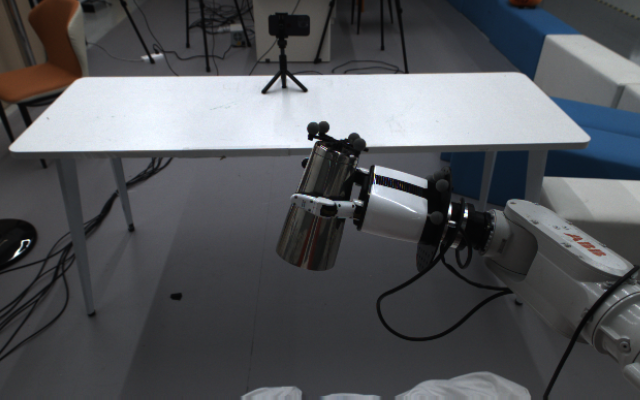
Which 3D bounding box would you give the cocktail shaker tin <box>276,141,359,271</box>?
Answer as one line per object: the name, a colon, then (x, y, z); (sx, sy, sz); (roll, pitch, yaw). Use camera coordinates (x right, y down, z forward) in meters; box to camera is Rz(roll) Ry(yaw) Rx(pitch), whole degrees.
cocktail shaker tin: (0.001, 0.005, 0.700); (0.093, 0.170, 0.093); (15, 17, -5)
